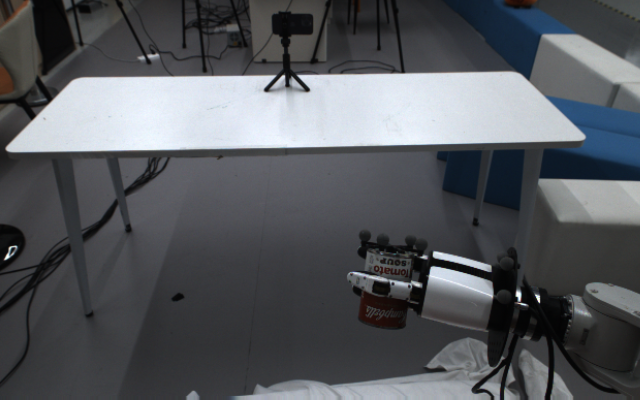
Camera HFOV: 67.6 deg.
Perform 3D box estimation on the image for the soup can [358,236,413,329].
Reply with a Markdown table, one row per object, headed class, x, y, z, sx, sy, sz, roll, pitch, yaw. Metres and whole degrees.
| class | x | y | z | sx | sy | sz | roll | pitch | yaw |
| --- | --- | --- | --- | --- | --- | --- | --- | --- | --- |
| soup can | 0.093 | 0.120 | 0.673 | 0.067 | 0.101 | 0.067 | 7 | 3 | 0 |
